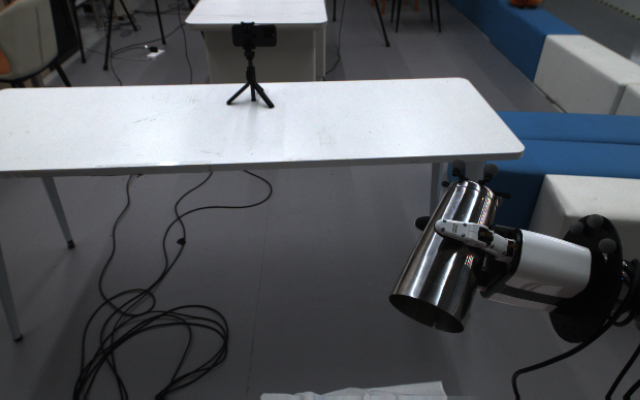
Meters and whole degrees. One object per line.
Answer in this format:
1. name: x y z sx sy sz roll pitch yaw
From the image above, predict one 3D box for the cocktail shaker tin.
1. cocktail shaker tin: 0.163 0.061 0.590 0.093 0.093 0.170 17 67 21
